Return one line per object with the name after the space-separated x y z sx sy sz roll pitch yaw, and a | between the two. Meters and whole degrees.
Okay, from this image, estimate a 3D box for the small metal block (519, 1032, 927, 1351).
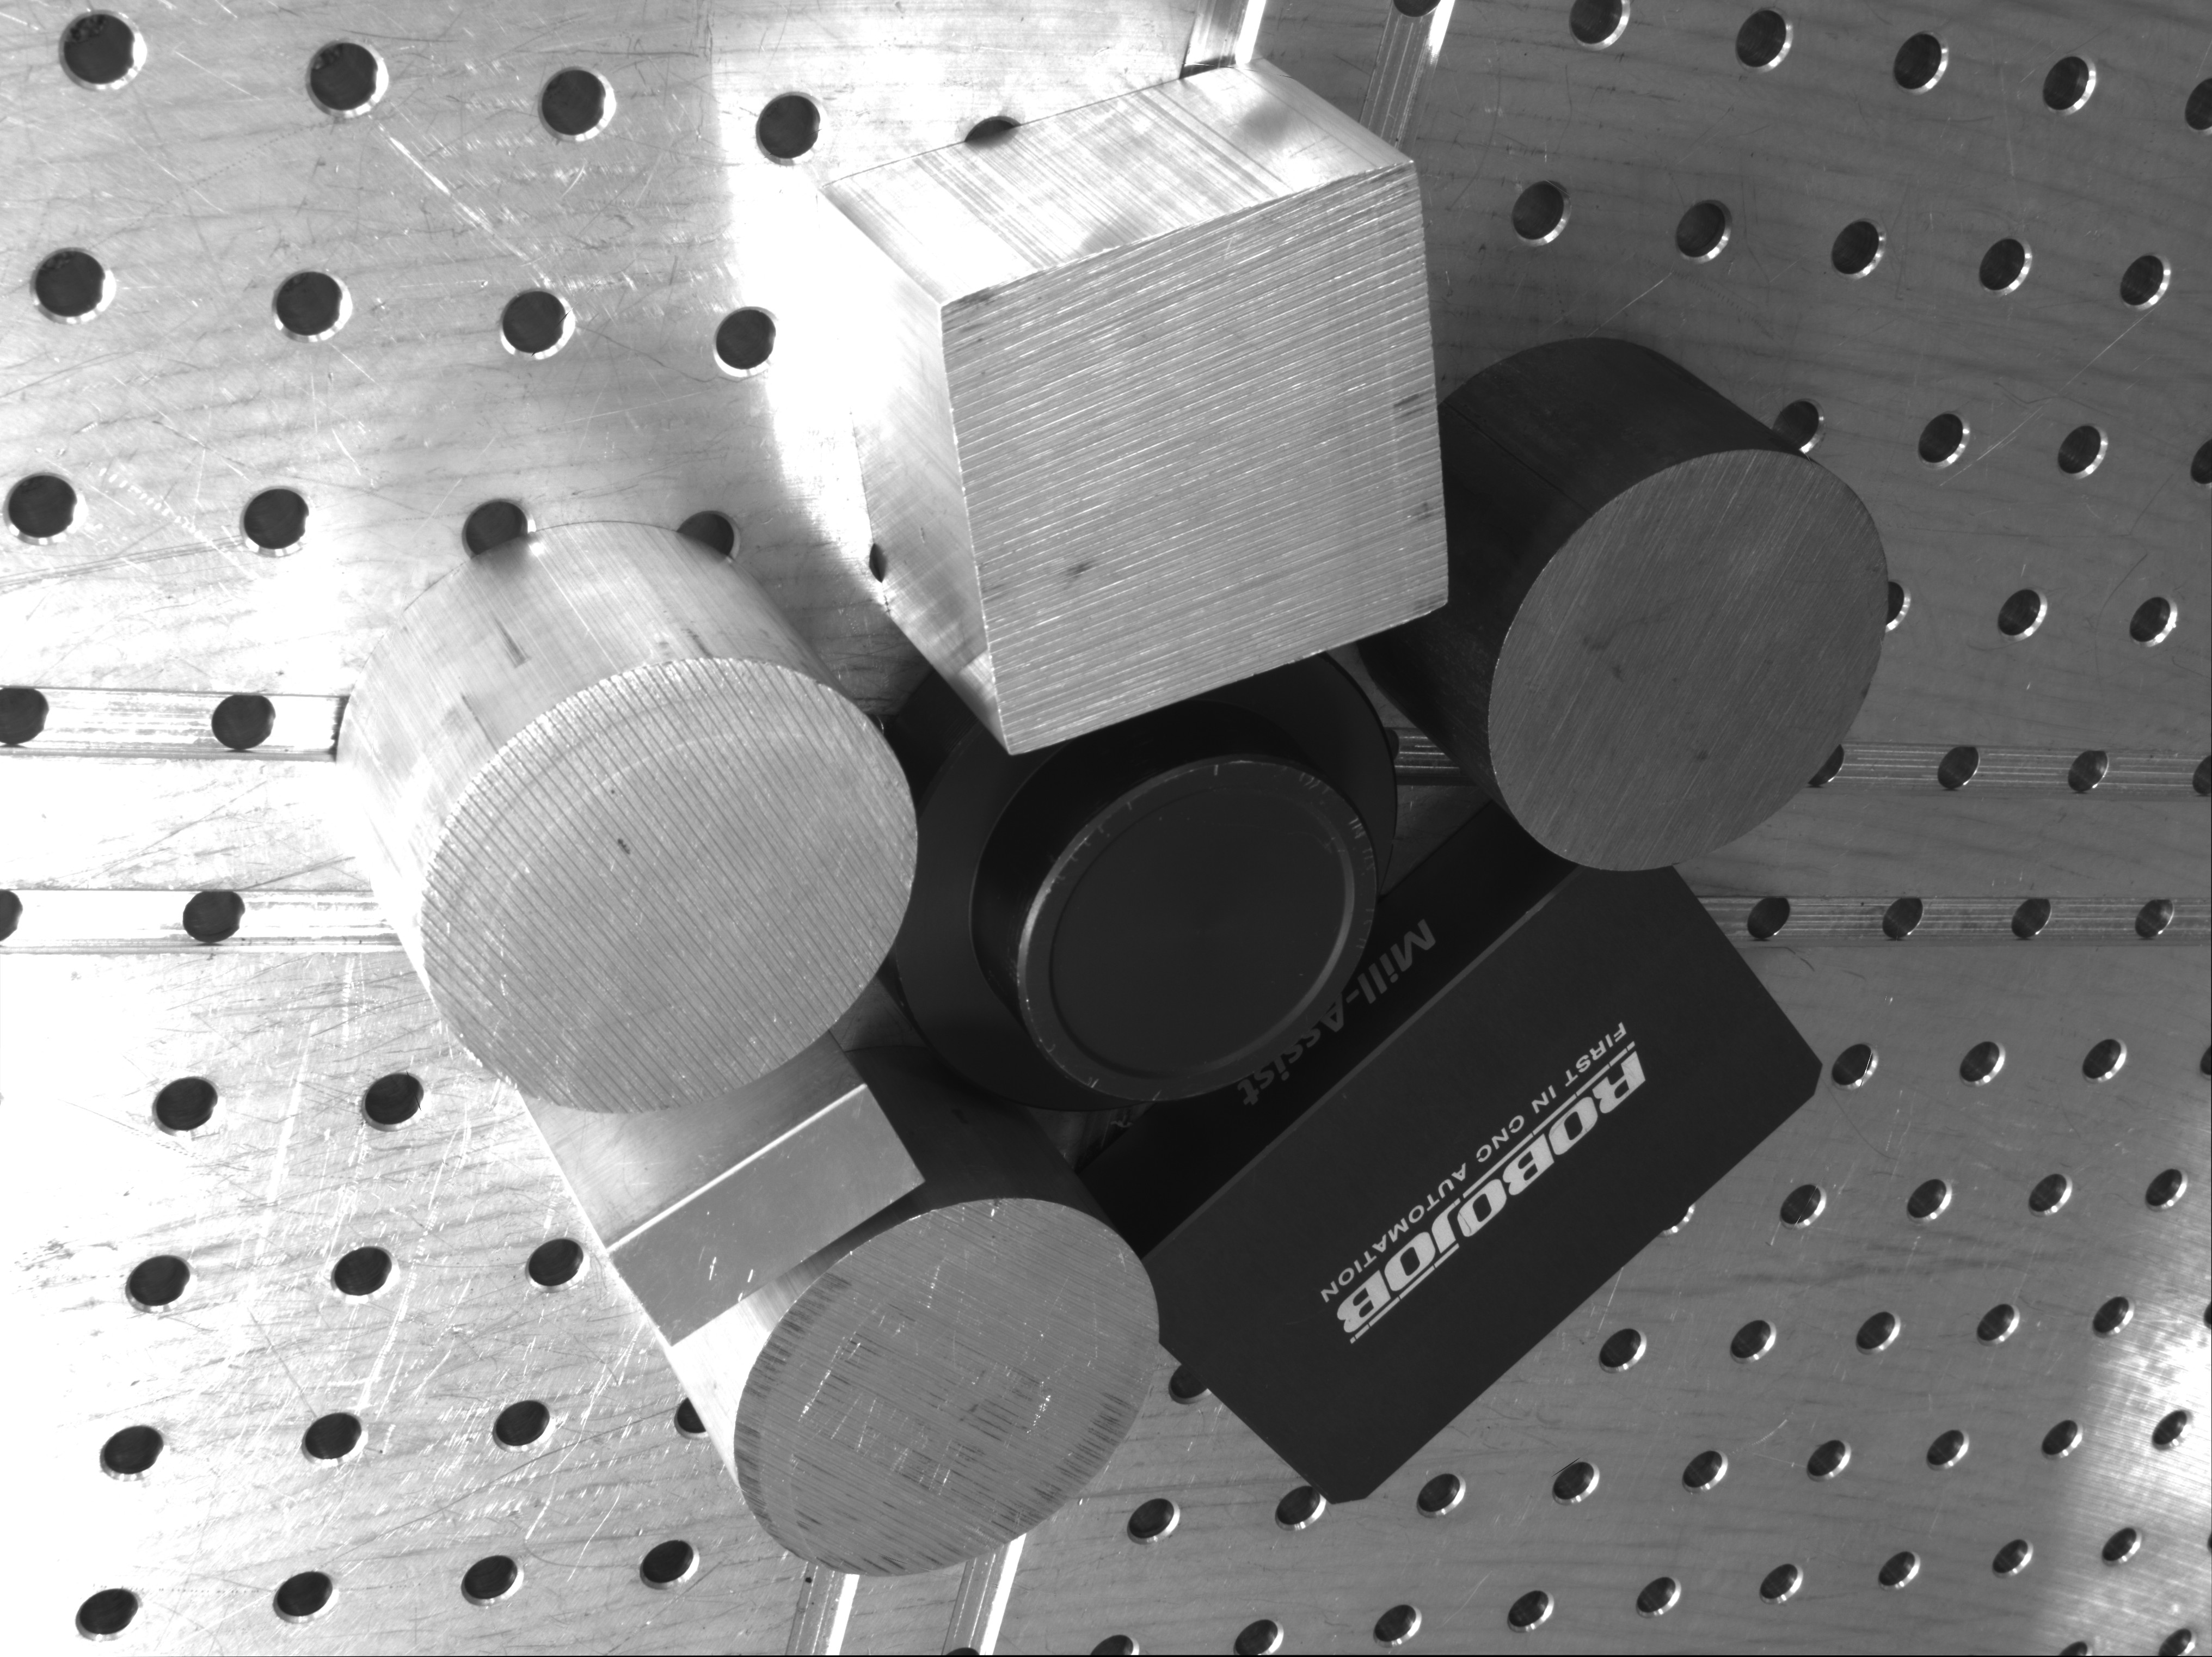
-0.065 0.052 0.619 0.050 0.050 0.025 -33 128 -7 | small metal block

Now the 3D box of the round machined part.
0.008 0.009 0.638 0.098 0.042 0.098 -14 124 -21 | round machined part

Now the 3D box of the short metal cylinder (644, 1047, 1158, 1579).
-0.038 0.086 0.655 0.080 0.050 0.080 -14 124 -21 | short metal cylinder

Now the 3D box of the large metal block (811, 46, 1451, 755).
0.005 -0.069 0.585 0.080 0.050 0.080 -20 126 -17 | large metal block

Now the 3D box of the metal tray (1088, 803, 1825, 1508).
0.067 0.060 0.708 0.130 0.030 0.090 -43 129 0 | metal tray

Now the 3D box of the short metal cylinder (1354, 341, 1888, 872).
0.090 -0.039 0.648 0.080 0.050 0.080 -14 124 -21 | short metal cylinder

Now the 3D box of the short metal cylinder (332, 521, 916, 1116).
-0.077 -0.002 0.581 0.080 0.050 0.080 -14 124 -21 | short metal cylinder
